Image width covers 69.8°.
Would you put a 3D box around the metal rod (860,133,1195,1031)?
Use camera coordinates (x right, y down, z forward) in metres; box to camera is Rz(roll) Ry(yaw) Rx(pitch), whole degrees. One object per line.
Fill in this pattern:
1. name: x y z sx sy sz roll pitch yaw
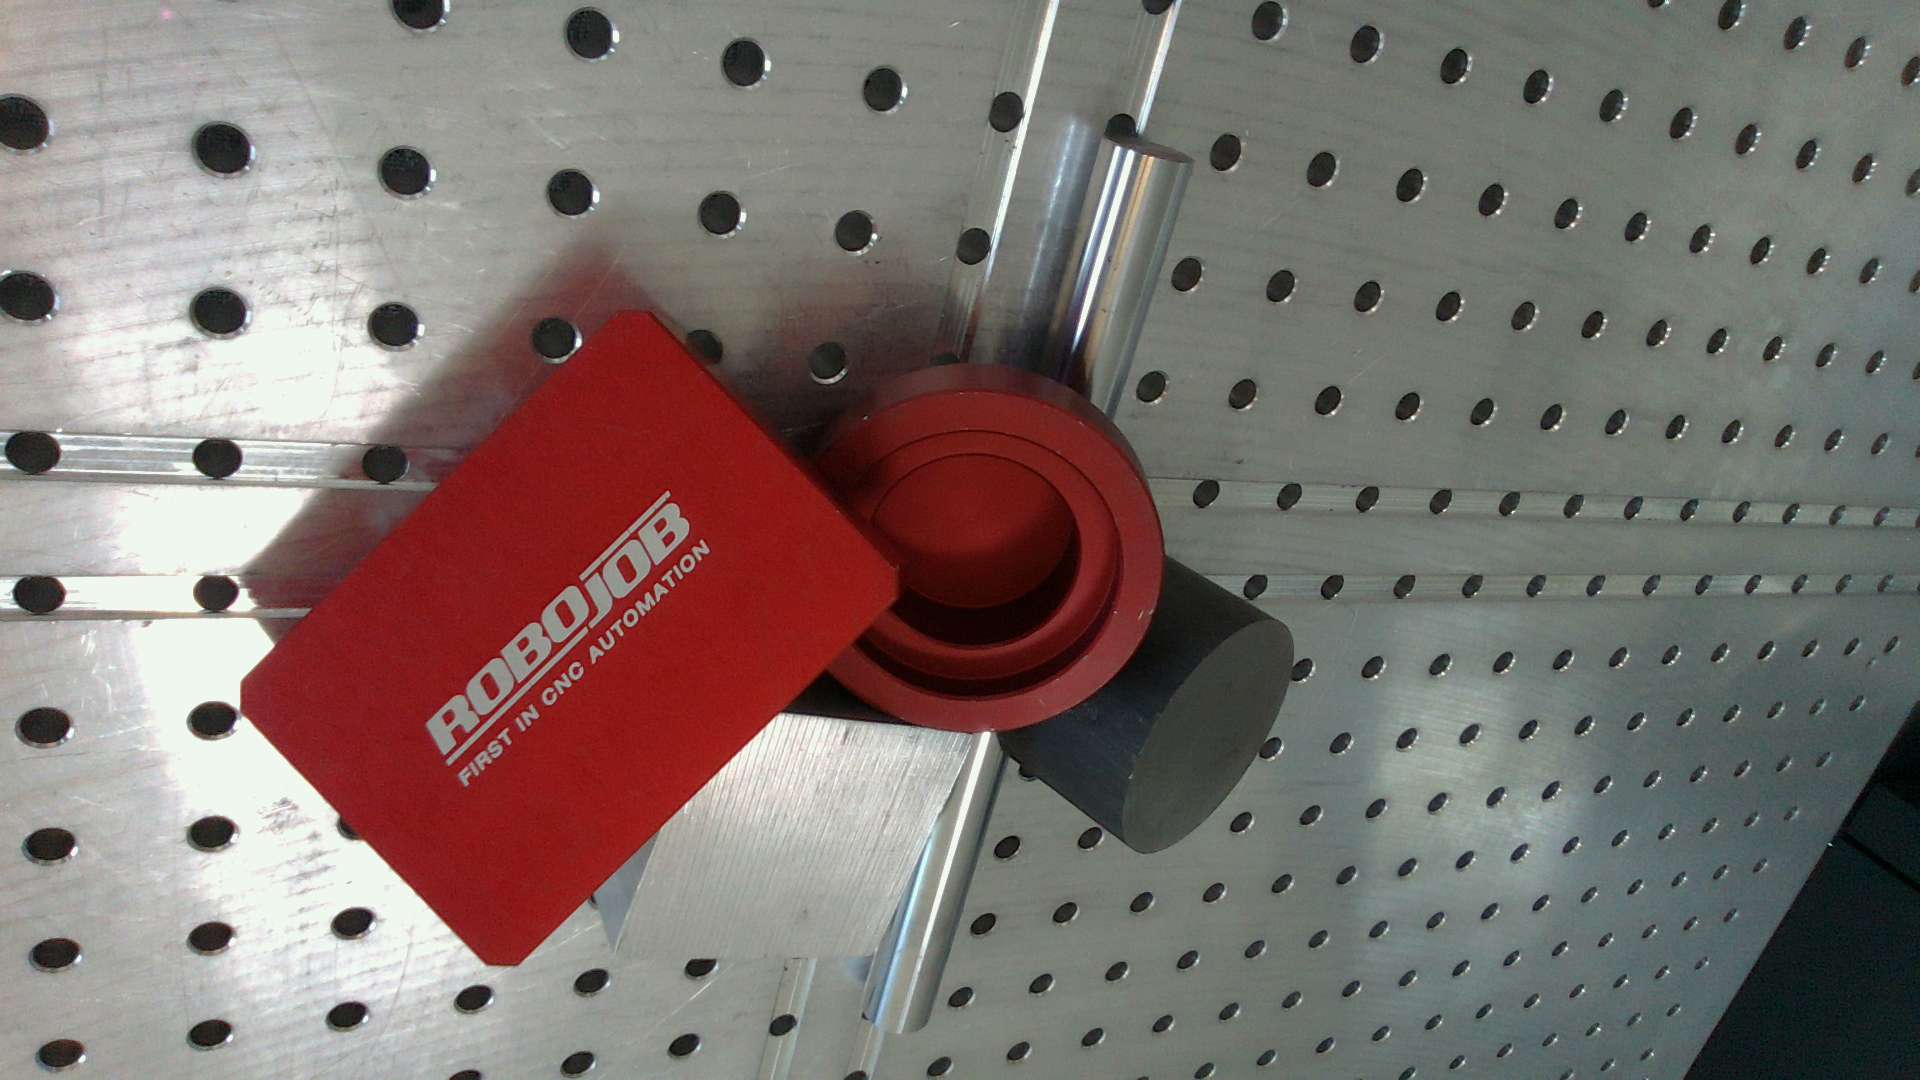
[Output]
1. metal rod: 0.013 0.030 0.418 0.025 0.025 0.300 1 118 -29

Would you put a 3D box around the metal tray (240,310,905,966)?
1. metal tray: -0.088 0.022 0.323 0.130 0.030 0.090 -44 91 2

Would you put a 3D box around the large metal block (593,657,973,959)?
1. large metal block: -0.055 0.070 0.389 0.080 0.050 0.080 11 113 -33

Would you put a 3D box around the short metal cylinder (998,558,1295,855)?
1. short metal cylinder: 0.057 0.048 0.419 0.080 0.050 0.080 -31 138 -33

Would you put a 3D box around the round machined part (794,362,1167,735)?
1. round machined part: 0.003 0.000 0.366 0.098 0.042 0.098 0 114 0
